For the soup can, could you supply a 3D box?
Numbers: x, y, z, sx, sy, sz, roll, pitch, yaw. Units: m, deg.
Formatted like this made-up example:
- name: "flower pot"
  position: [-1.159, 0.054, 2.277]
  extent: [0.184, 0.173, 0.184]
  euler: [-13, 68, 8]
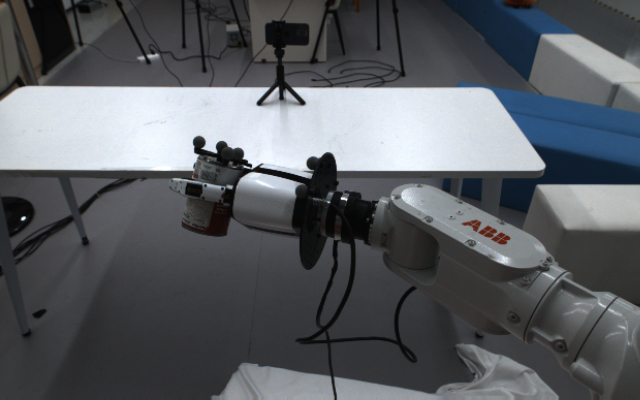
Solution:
- name: "soup can"
  position: [-0.151, -0.005, 0.683]
  extent: [0.067, 0.101, 0.067]
  euler: [16, 7, -2]
